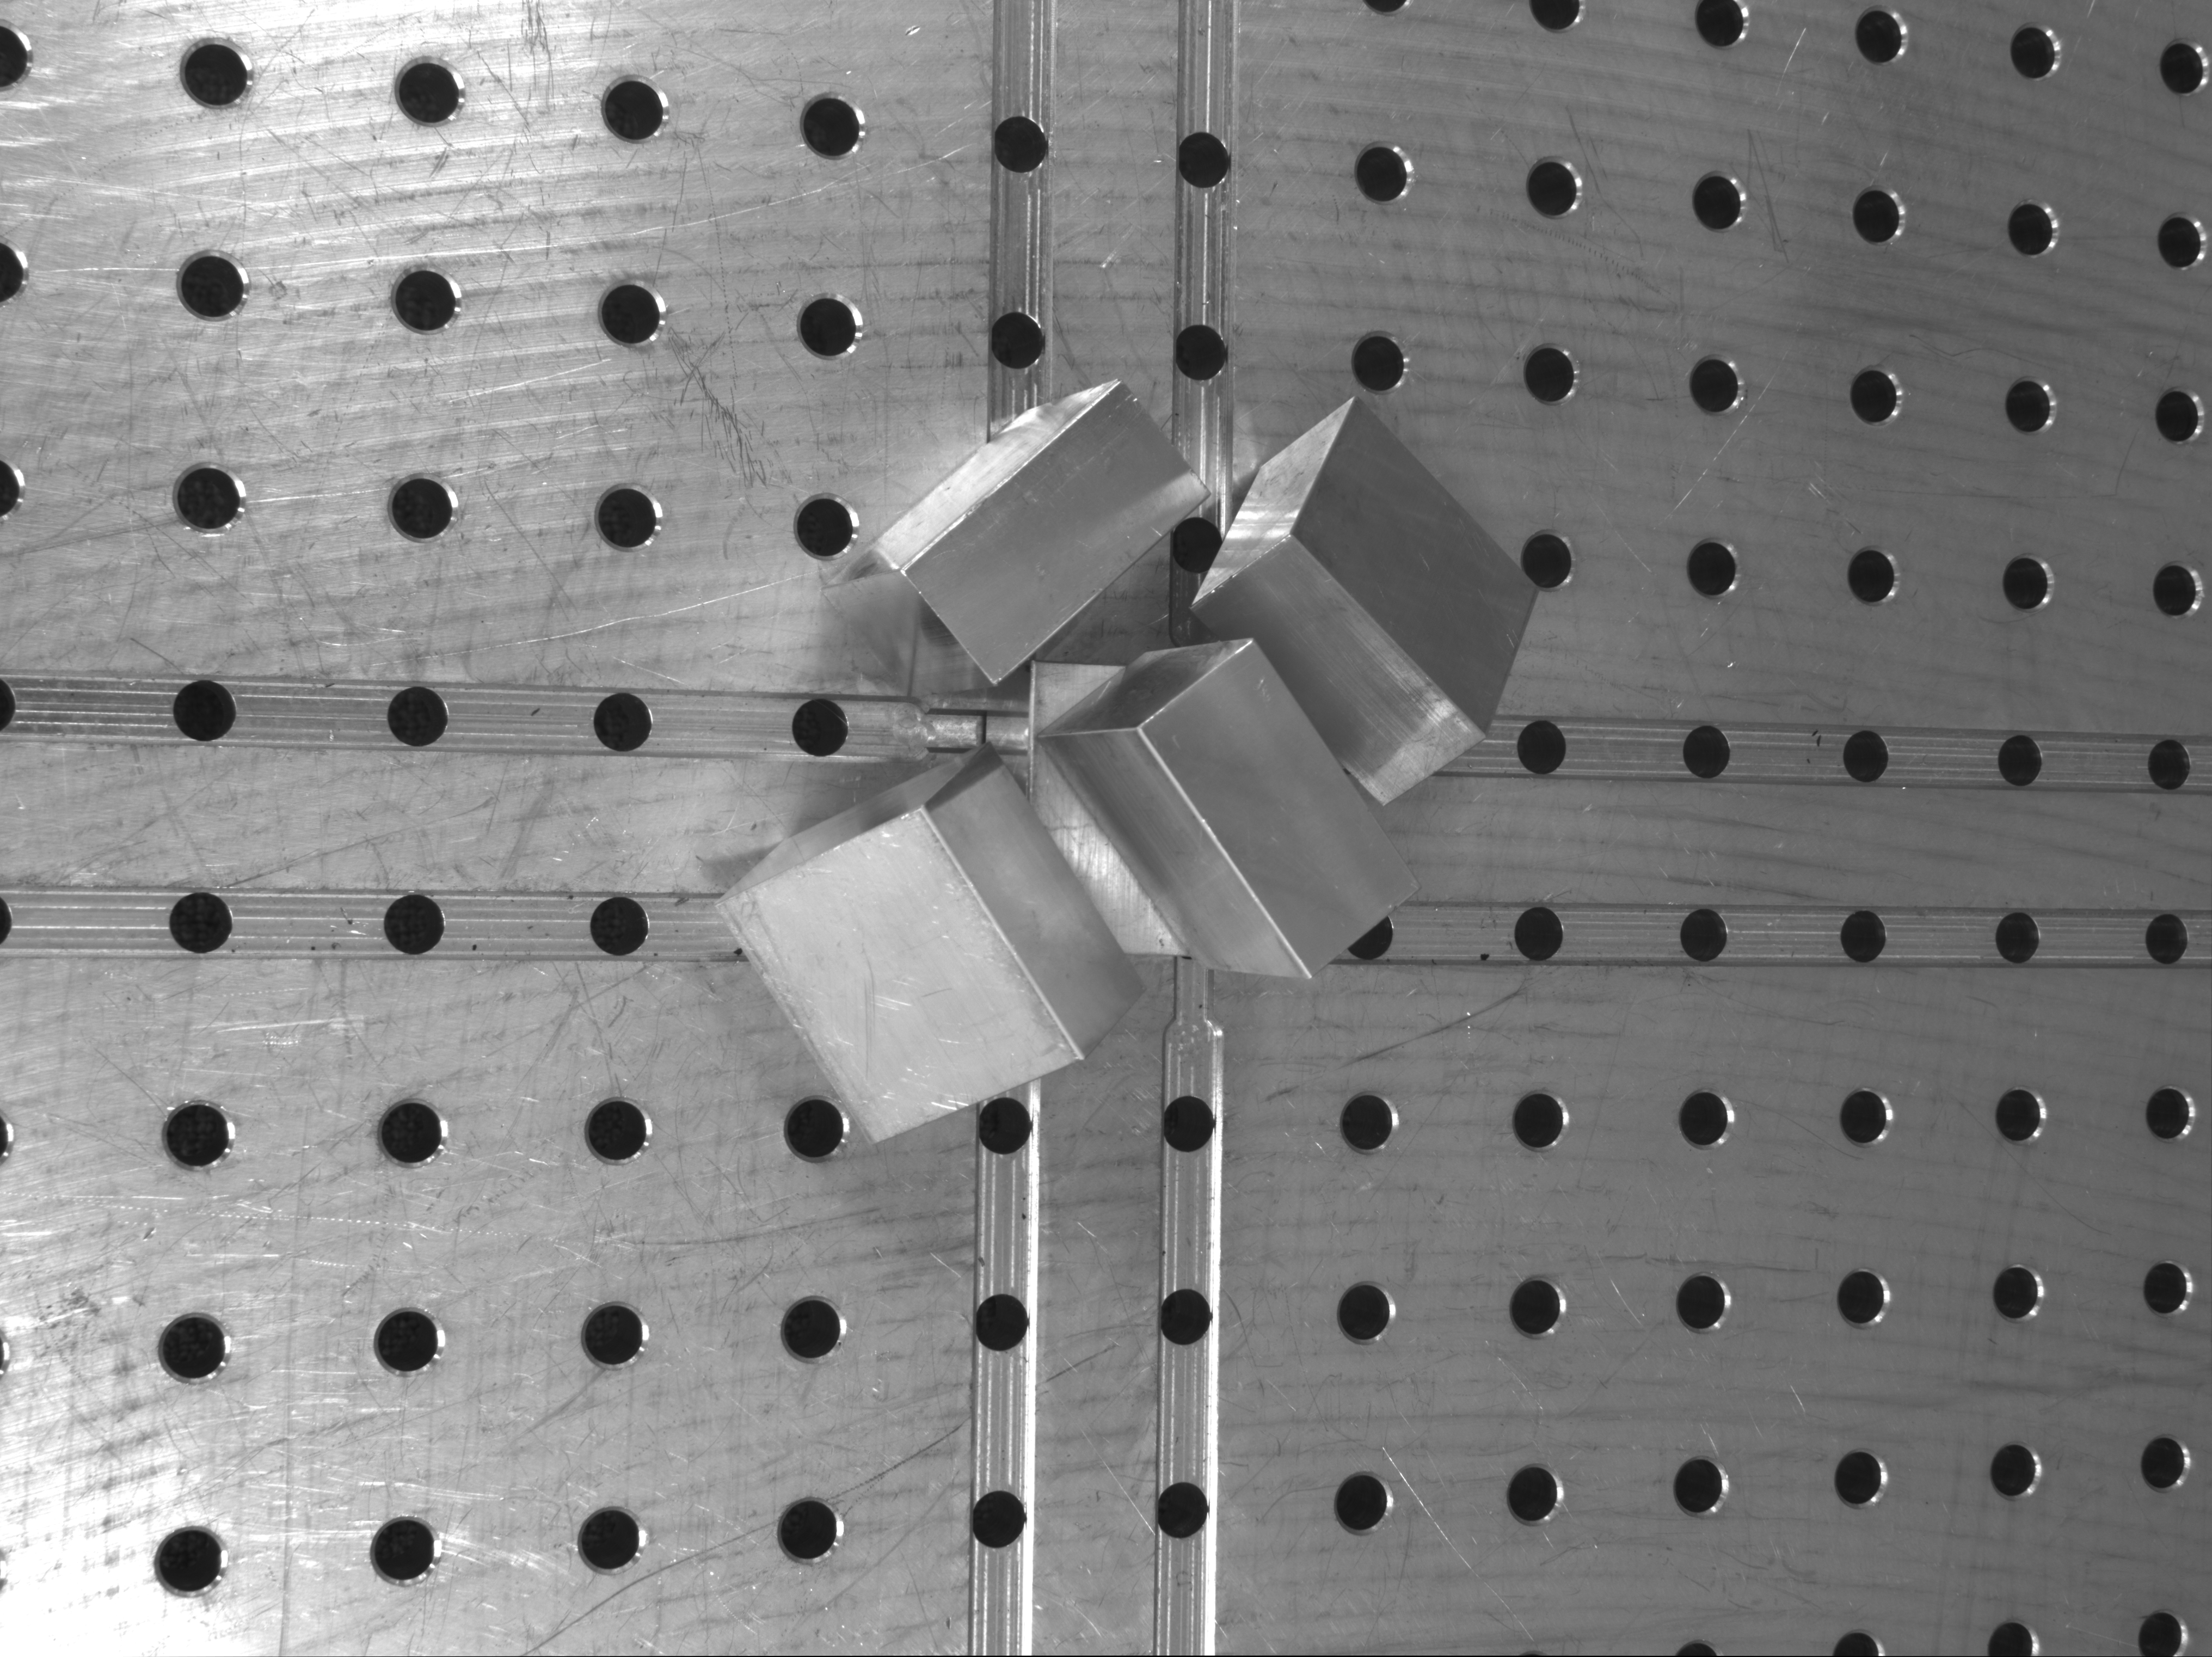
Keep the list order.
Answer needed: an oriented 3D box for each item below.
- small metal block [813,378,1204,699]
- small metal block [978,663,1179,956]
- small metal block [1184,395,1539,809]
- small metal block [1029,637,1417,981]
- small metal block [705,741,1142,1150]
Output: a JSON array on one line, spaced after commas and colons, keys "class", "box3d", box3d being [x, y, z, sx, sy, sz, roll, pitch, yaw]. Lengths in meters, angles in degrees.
[{"class": "small metal block", "box3d": [-0.018, -0.049, 0.626, 0.050, 0.050, 0.025, -43, 103, -15]}, {"class": "small metal block", "box3d": [0.005, -0.003, 0.647, 0.050, 0.025, 0.050, 1, 89, -21]}, {"class": "small metal block", "box3d": [0.046, -0.040, 0.648, 0.050, 0.025, 0.050, 45, 36, -14]}, {"class": "small metal block", "box3d": [0.019, -0.003, 0.613, 0.025, 0.050, 0.050, -38, 102, -17]}, {"class": "small metal block", "box3d": [-0.031, 0.020, 0.618, 0.050, 0.050, 0.025, 58, 36, -11]}]
